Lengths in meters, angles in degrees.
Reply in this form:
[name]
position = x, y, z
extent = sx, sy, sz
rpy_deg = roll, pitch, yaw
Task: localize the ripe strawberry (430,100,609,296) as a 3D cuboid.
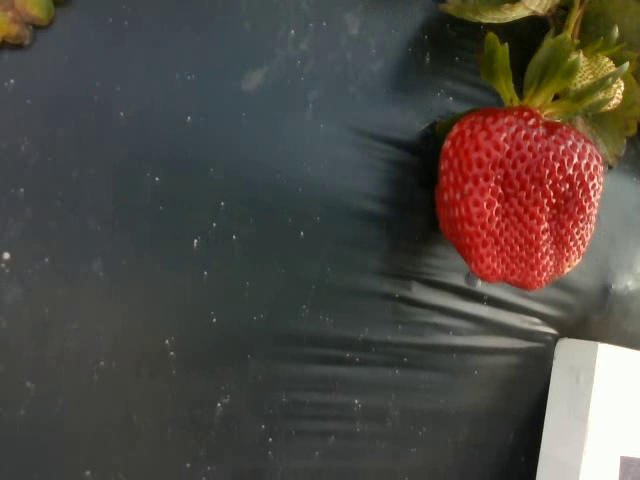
[ripe strawberry]
position = 0.071, -0.016, 0.207
extent = 0.067, 0.075, 0.039
rpy_deg = 18, -13, -21
